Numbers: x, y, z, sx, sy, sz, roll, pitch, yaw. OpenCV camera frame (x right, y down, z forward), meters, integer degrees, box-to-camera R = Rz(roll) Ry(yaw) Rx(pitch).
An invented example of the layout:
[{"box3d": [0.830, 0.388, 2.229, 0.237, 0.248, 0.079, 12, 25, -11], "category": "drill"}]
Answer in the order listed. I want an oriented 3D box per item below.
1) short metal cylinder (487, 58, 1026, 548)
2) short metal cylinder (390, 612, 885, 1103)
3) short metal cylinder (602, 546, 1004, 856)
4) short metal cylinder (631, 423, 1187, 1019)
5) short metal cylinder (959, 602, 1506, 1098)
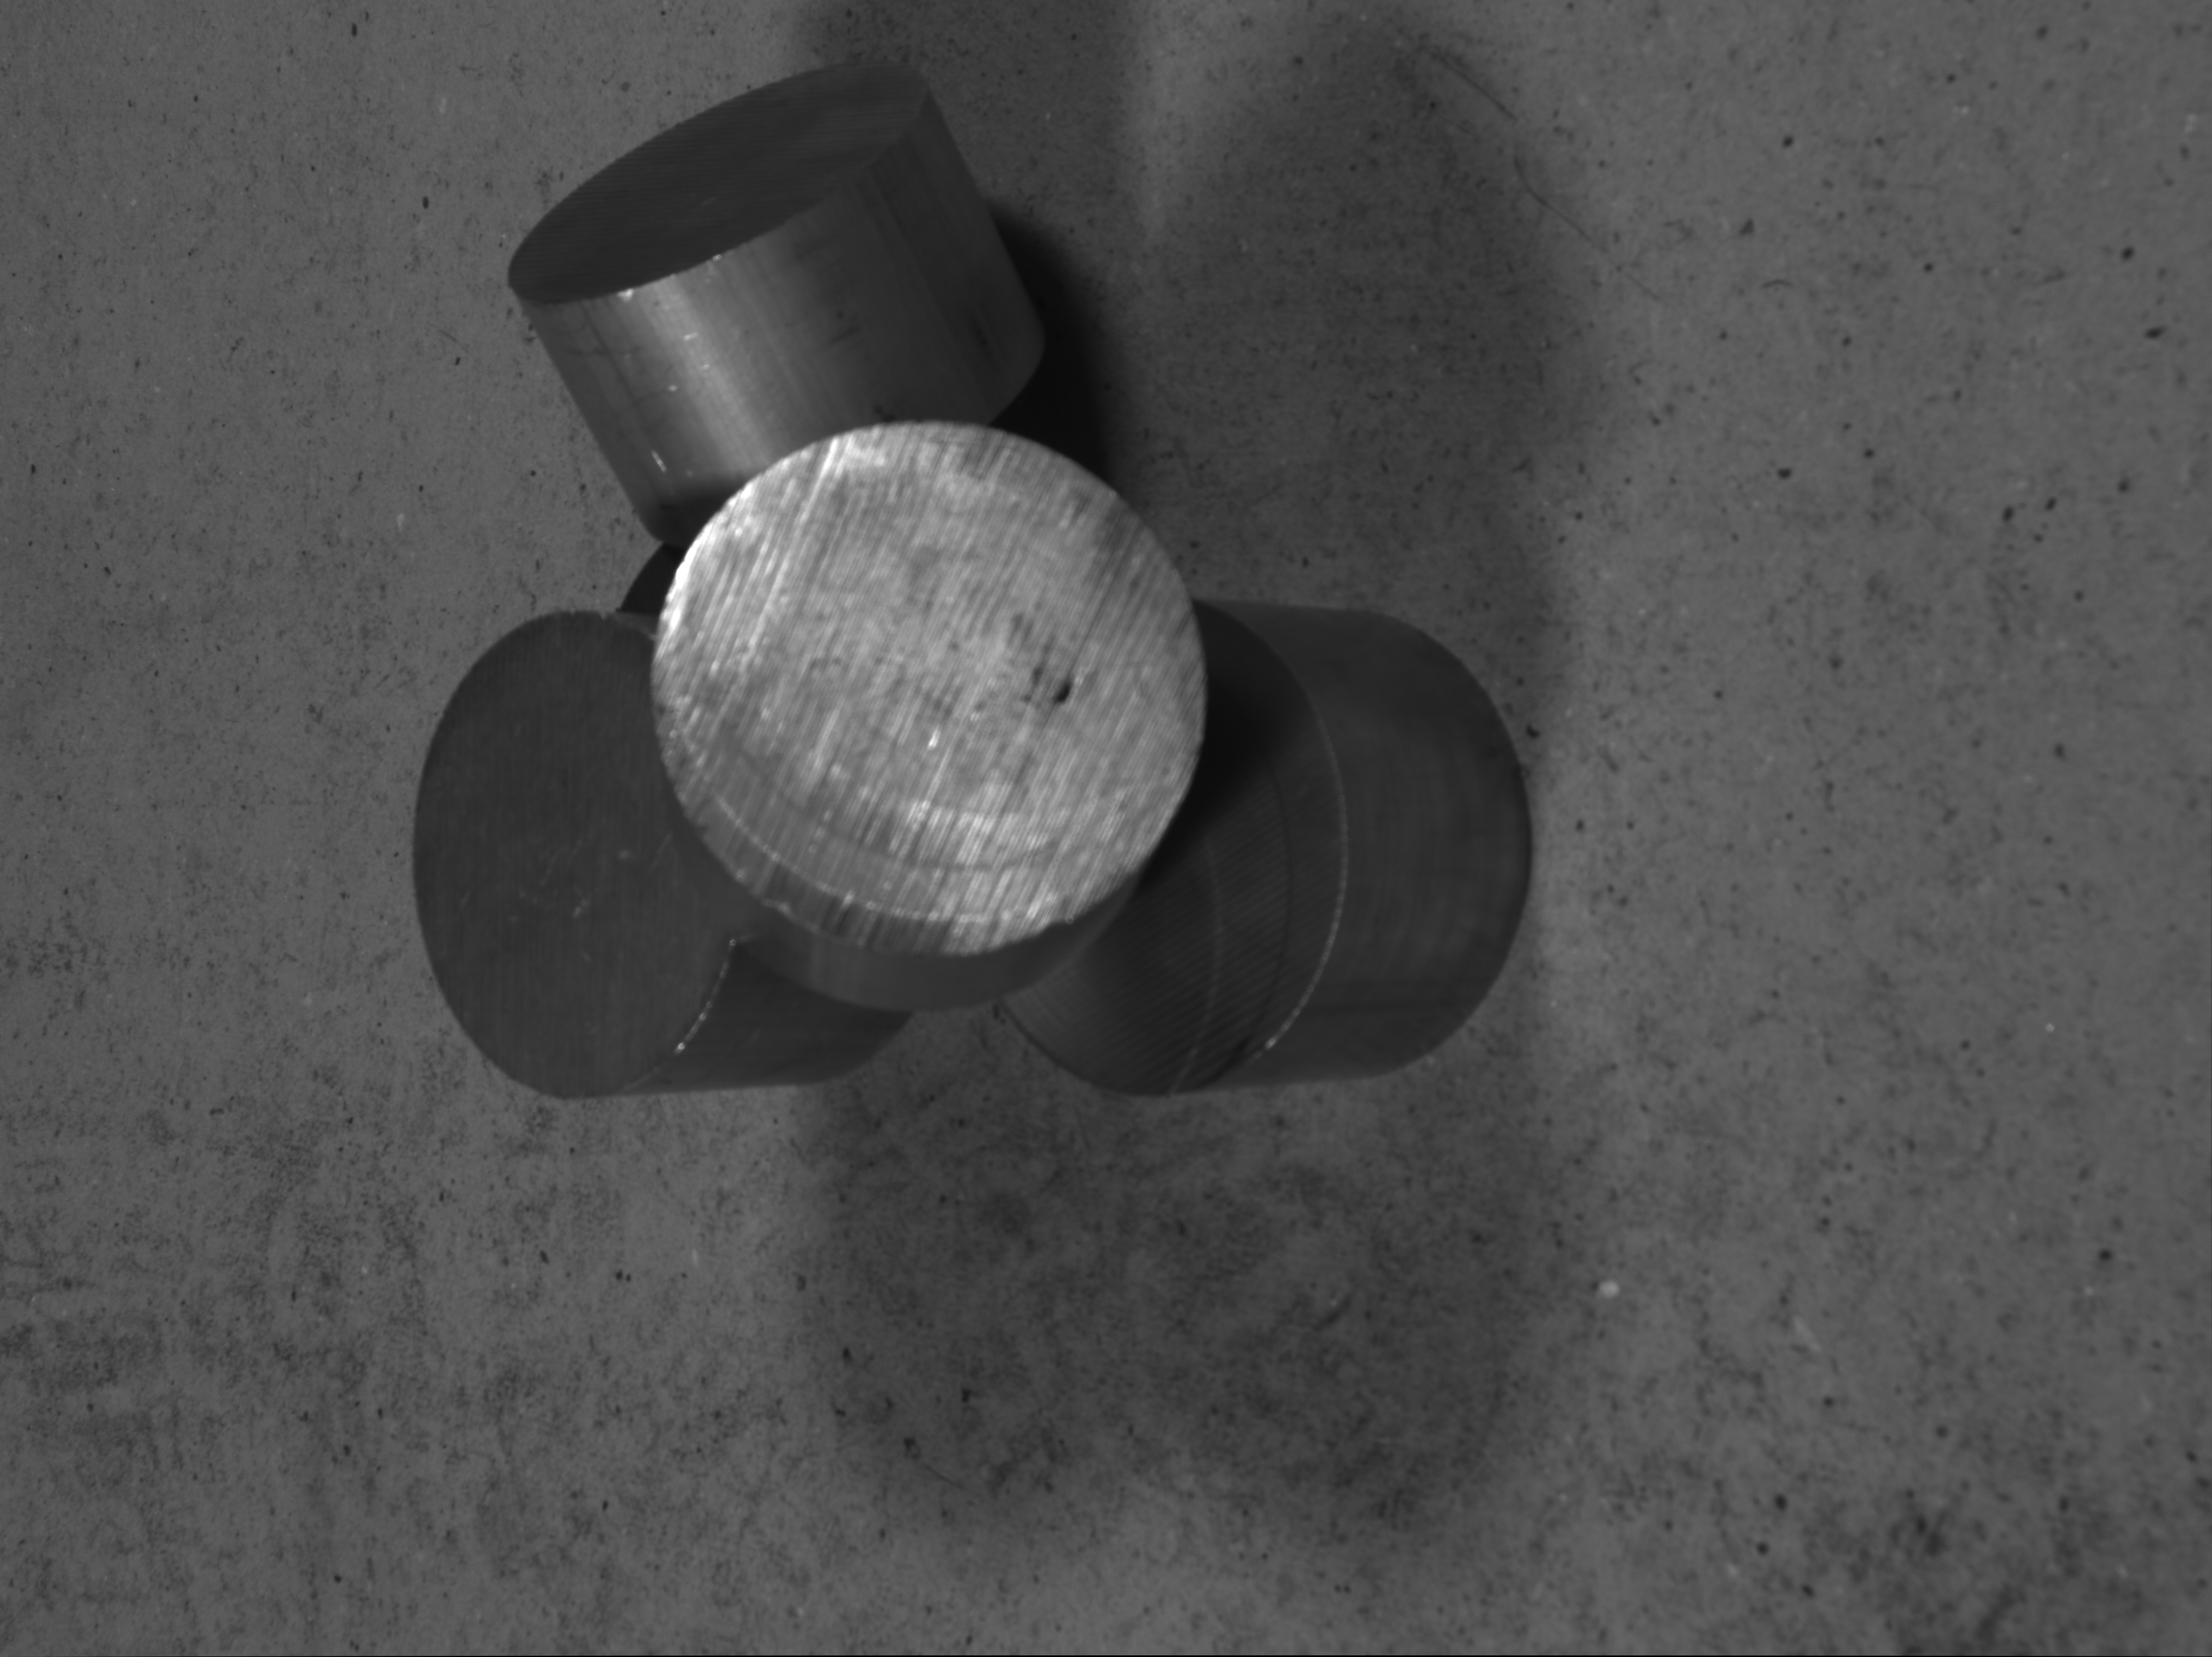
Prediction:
[{"box3d": [-0.061, -0.093, 0.643, 0.080, 0.080, 0.050, 0, 128, 39], "category": "short metal cylinder"}, {"box3d": [-0.075, 0.005, 0.616, 0.080, 0.050, 0.080, 0, 90, 39], "category": "short metal cylinder"}, {"box3d": [-0.051, -0.017, 0.662, 0.080, 0.050, 0.080, 0, 90, 39], "category": "short metal cylinder"}, {"box3d": [-0.031, -0.015, 0.552, 0.050, 0.080, 0.080, 117, 140, -76], "category": "short metal cylinder"}, {"box3d": [0.019, 0.003, 0.604, 0.080, 0.050, 0.080, 0, 90, 39], "category": "short metal cylinder"}]
